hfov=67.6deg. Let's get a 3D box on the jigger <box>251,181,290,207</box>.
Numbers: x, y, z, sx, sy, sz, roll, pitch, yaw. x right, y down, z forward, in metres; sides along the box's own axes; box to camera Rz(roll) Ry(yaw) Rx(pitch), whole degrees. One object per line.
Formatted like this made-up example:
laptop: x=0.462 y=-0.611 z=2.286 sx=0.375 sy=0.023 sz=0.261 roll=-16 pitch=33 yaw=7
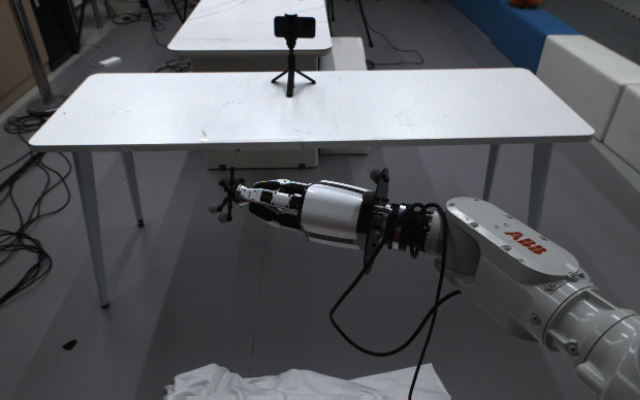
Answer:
jigger: x=-0.088 y=-0.007 z=0.755 sx=0.071 sy=0.043 sz=0.043 roll=7 pitch=35 yaw=15
